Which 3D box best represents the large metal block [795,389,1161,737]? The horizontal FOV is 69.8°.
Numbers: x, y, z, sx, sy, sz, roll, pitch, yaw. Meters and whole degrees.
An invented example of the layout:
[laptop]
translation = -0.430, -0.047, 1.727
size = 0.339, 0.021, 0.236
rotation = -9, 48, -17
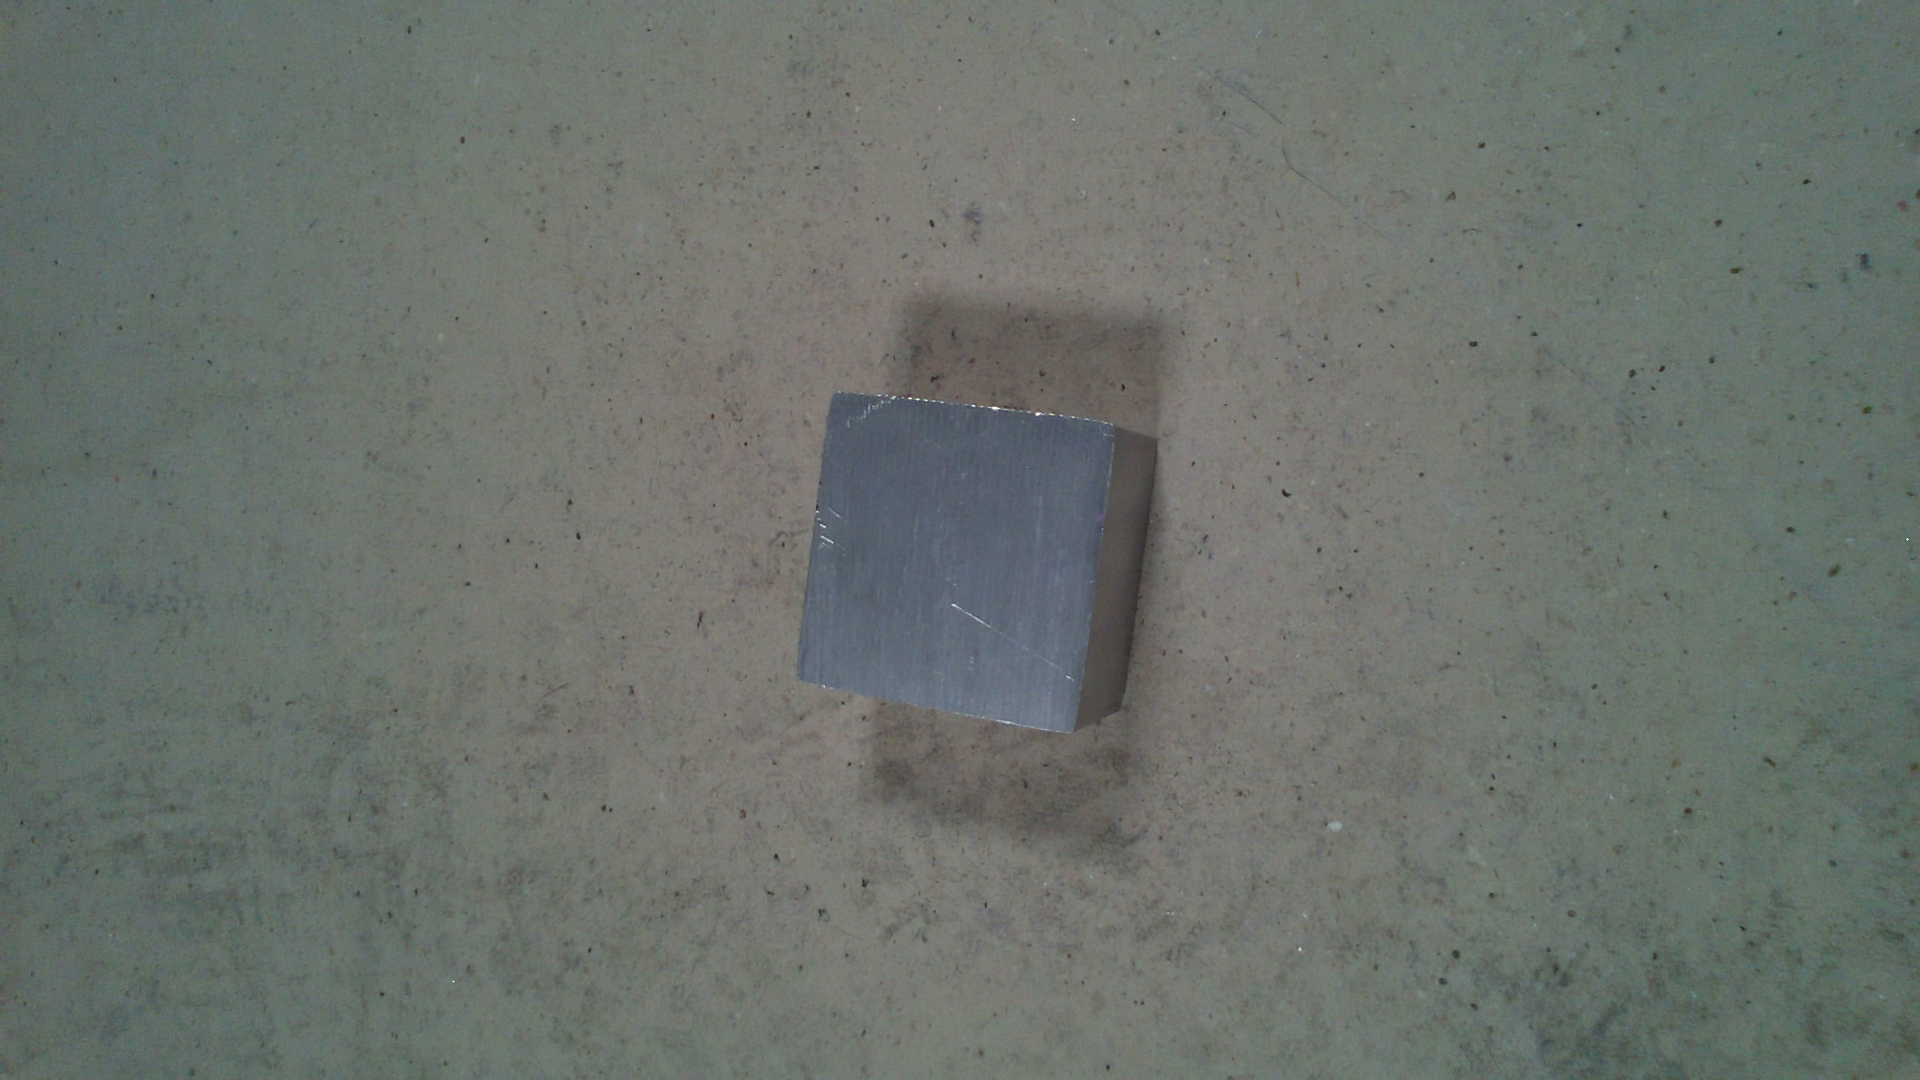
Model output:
[large metal block]
translation = 0.006, 0.004, 0.381
size = 0.080, 0.050, 0.080
rotation = 8, 93, 20
